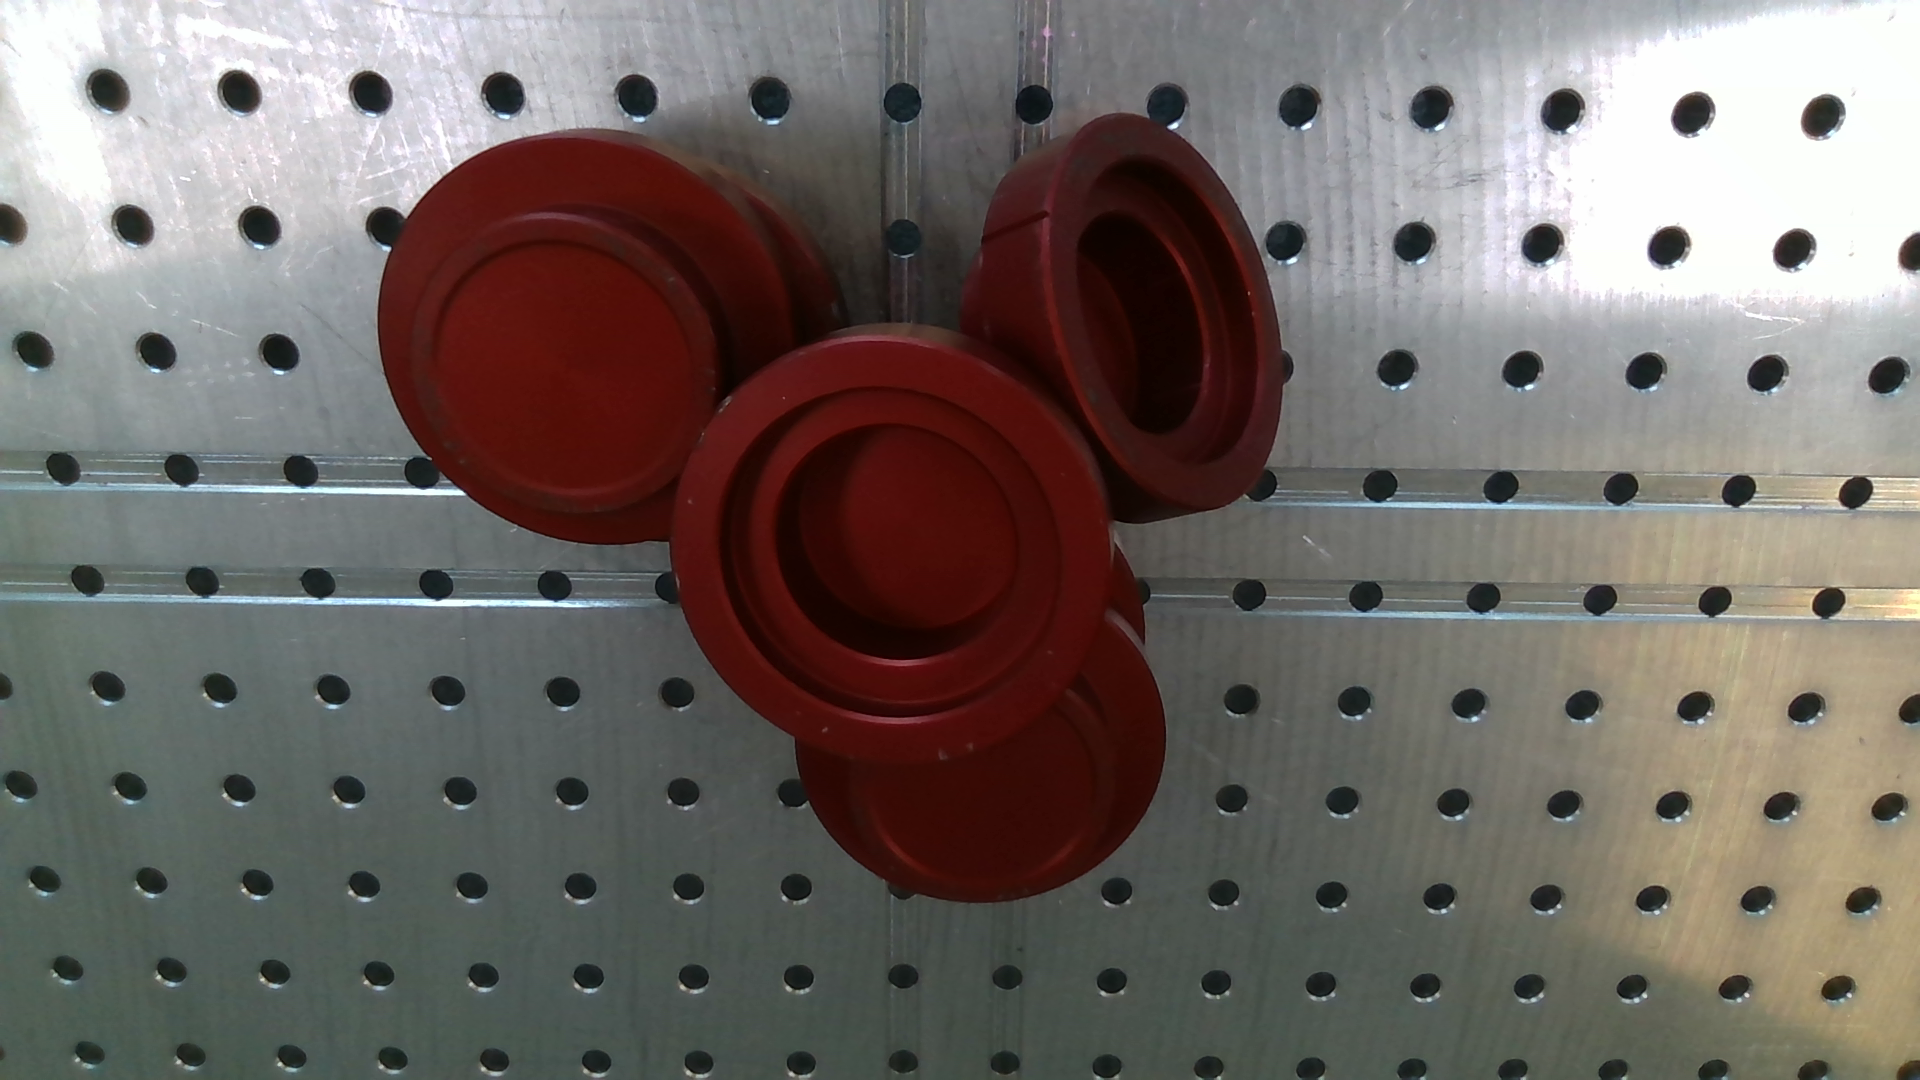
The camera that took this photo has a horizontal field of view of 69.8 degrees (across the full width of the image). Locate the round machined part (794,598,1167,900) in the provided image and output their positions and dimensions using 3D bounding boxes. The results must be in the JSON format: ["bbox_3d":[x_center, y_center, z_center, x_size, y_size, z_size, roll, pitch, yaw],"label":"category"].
[{"bbox_3d":[0.005,0.054,0.360,0.098,0.042,0.098,0,110,-1],"label":"round machined part"}]

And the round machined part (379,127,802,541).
[{"bbox_3d":[-0.088,-0.045,0.325,0.098,0.042,0.098,0,110,0],"label":"round machined part"}]

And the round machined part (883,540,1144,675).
[{"bbox_3d":[0.001,0.026,0.374,0.098,0.042,0.098,0,110,0],"label":"round machined part"}]

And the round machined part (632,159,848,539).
[{"bbox_3d":[-0.078,-0.046,0.347,0.098,0.042,0.098,0,110,0],"label":"round machined part"}]

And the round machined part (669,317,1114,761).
[{"bbox_3d":[-0.013,-0.002,0.318,0.098,0.042,0.098,2,107,8],"label":"round machined part"}]

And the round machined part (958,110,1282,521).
[{"bbox_3d":[0.037,-0.053,0.347,0.042,0.098,0.098,-12,114,42],"label":"round machined part"}]
